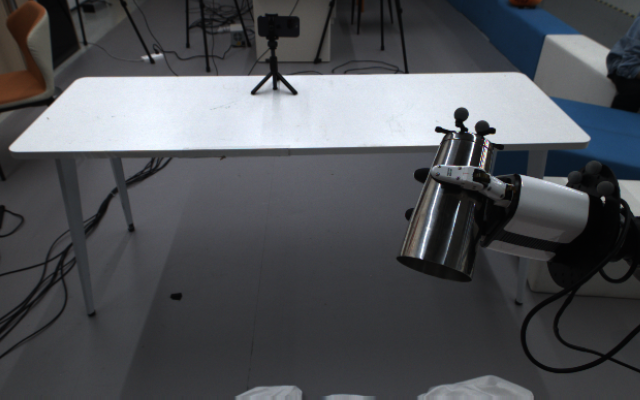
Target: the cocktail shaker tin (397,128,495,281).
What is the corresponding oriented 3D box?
[{"bbox_3d":[0.164,0.005,0.599,0.093,0.093,0.170,15,75,18],"label":"cocktail shaker tin"}]
